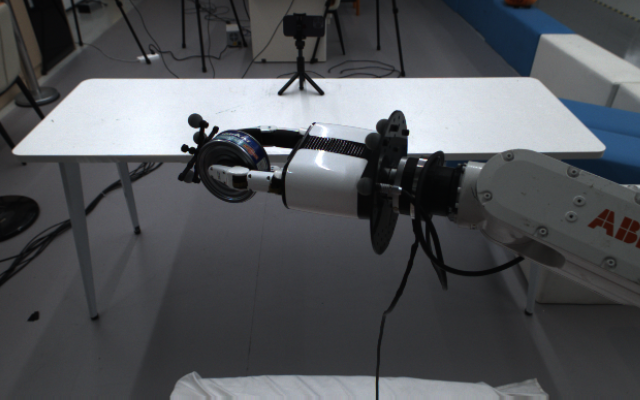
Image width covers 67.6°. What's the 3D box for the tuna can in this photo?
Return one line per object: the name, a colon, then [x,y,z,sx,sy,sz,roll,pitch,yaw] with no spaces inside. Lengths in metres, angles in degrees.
tuna can: [-0.103,-0.036,0.588,0.085,0.085,0.034,12,31,14]
